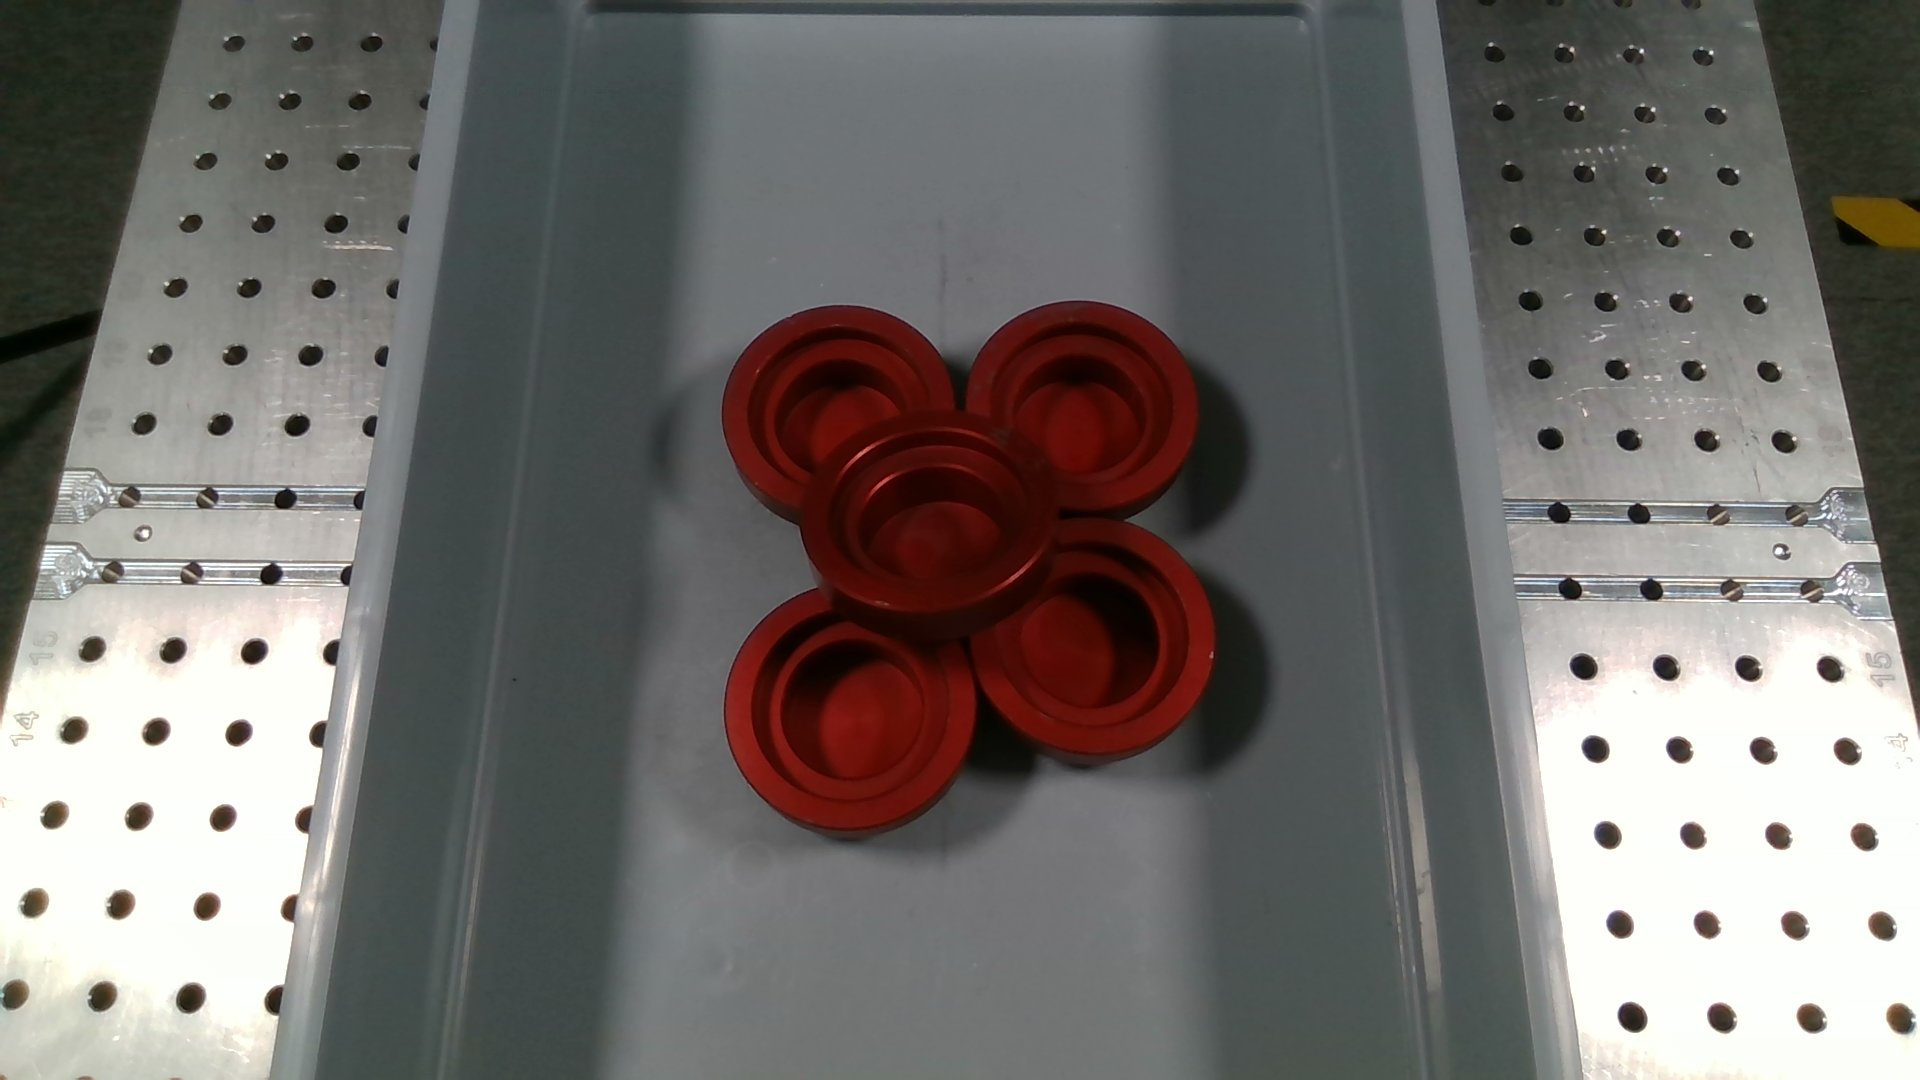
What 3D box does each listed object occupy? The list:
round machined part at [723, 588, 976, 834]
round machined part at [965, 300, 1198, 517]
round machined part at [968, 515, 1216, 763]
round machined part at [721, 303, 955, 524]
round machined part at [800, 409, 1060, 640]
[{"bbox_3d":[-0.043,0.069,0.553,0.098,0.042,0.098,0,70,0],"label":"round machined part"},{"bbox_3d":[0.051,-0.051,0.596,0.098,0.042,0.098,0,70,0],"label":"round machined part"},{"bbox_3d":[0.052,0.043,0.563,0.098,0.042,0.098,0,70,0],"label":"round machined part"},{"bbox_3d":[-0.051,-0.049,0.595,0.098,0.042,0.098,0,70,0],"label":"round machined part"},{"bbox_3d":[-0.010,-0.001,0.533,0.098,0.042,0.098,-3,52,4],"label":"round machined part"}]
